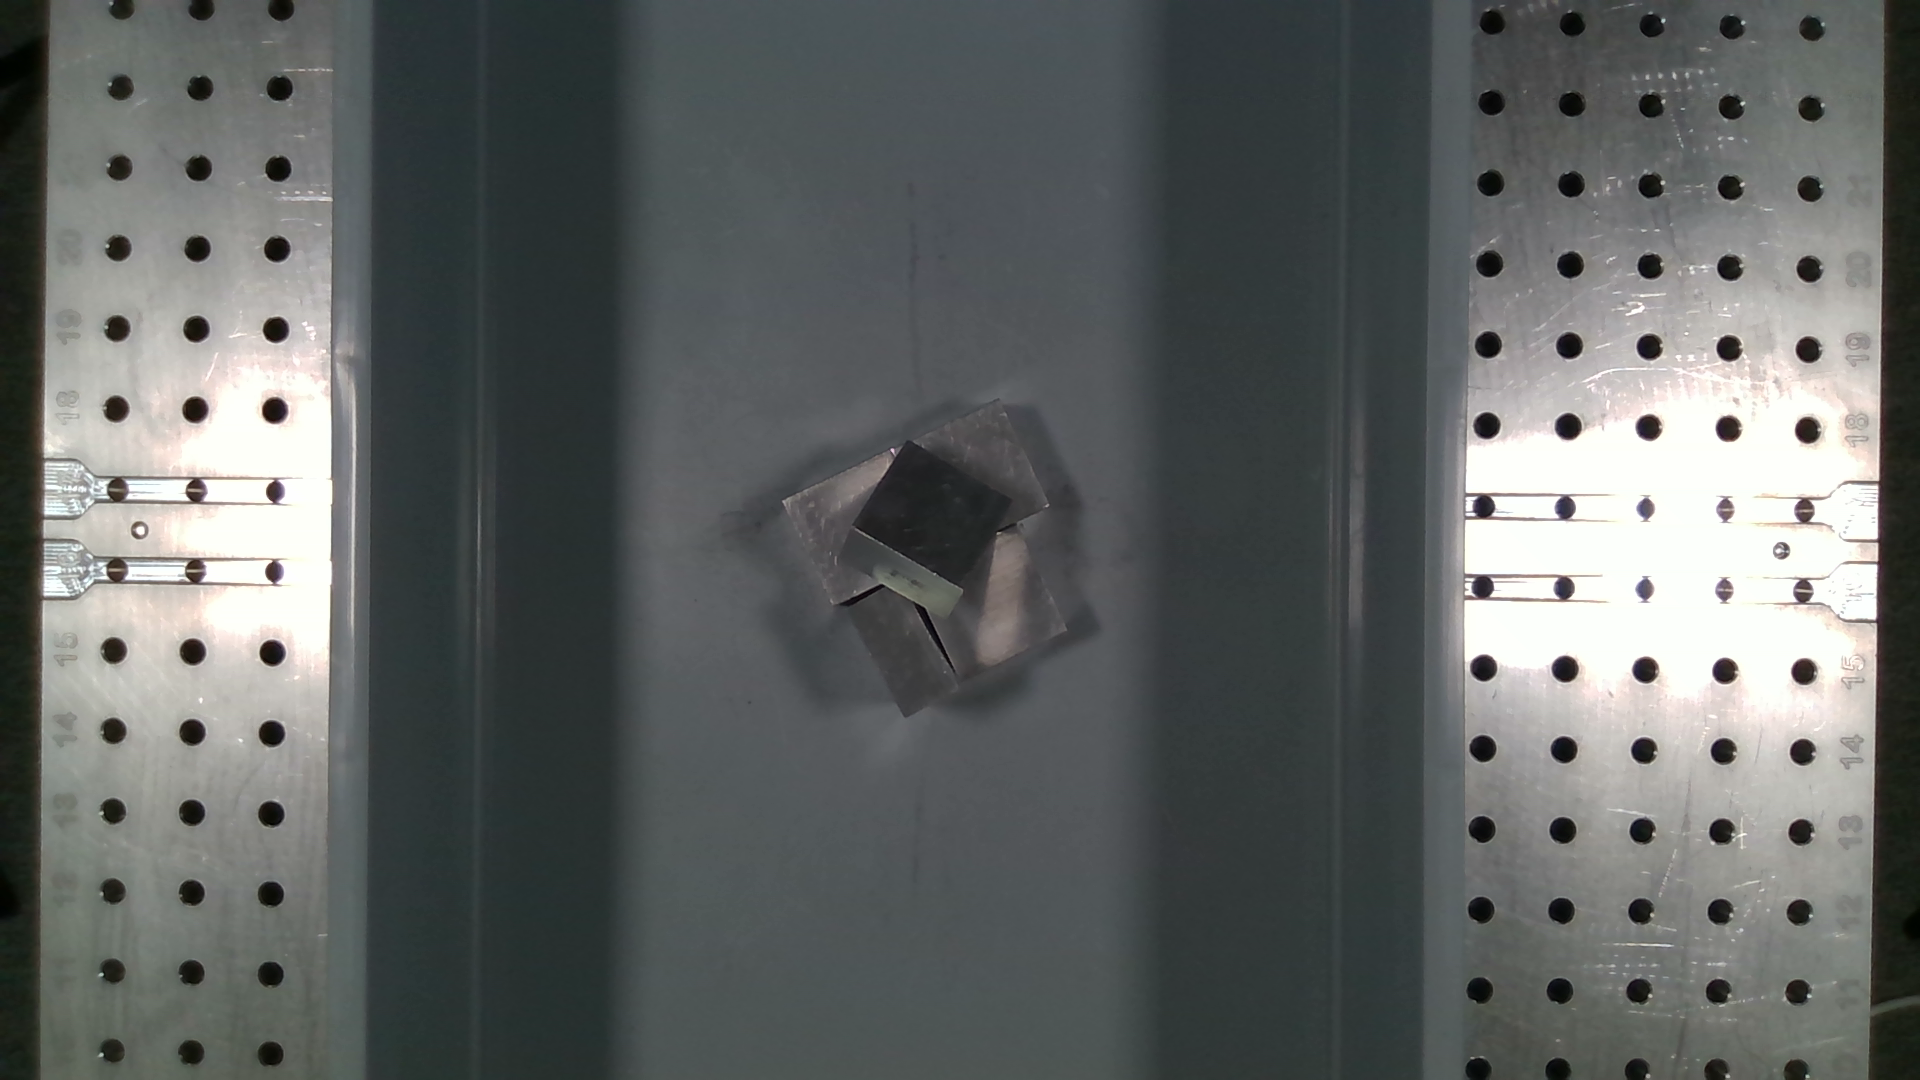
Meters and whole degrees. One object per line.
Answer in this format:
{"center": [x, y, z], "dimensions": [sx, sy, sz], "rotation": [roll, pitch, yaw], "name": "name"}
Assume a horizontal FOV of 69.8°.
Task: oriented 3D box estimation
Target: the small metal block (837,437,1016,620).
{"center": [-0.013, -0.005, 0.548], "dimensions": [0.050, 0.025, 0.050], "rotation": [30, 56, 0], "name": "small metal block"}

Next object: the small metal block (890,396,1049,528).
{"center": [0.004, -0.027, 0.586], "dimensions": [0.050, 0.025, 0.050], "rotation": [-25, 90, 0], "name": "small metal block"}

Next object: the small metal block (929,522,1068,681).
{"center": [0.012, 0.026, 0.586], "dimensions": [0.050, 0.025, 0.050], "rotation": [-25, 90, 0], "name": "small metal block"}

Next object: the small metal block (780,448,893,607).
{"center": [-0.042, -0.005, 0.586], "dimensions": [0.050, 0.025, 0.050], "rotation": [-25, 90, 0], "name": "small metal block"}

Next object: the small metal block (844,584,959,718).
{"center": [-0.023, 0.043, 0.573], "dimensions": [0.025, 0.050, 0.050], "rotation": [-29, 91, 0], "name": "small metal block"}
